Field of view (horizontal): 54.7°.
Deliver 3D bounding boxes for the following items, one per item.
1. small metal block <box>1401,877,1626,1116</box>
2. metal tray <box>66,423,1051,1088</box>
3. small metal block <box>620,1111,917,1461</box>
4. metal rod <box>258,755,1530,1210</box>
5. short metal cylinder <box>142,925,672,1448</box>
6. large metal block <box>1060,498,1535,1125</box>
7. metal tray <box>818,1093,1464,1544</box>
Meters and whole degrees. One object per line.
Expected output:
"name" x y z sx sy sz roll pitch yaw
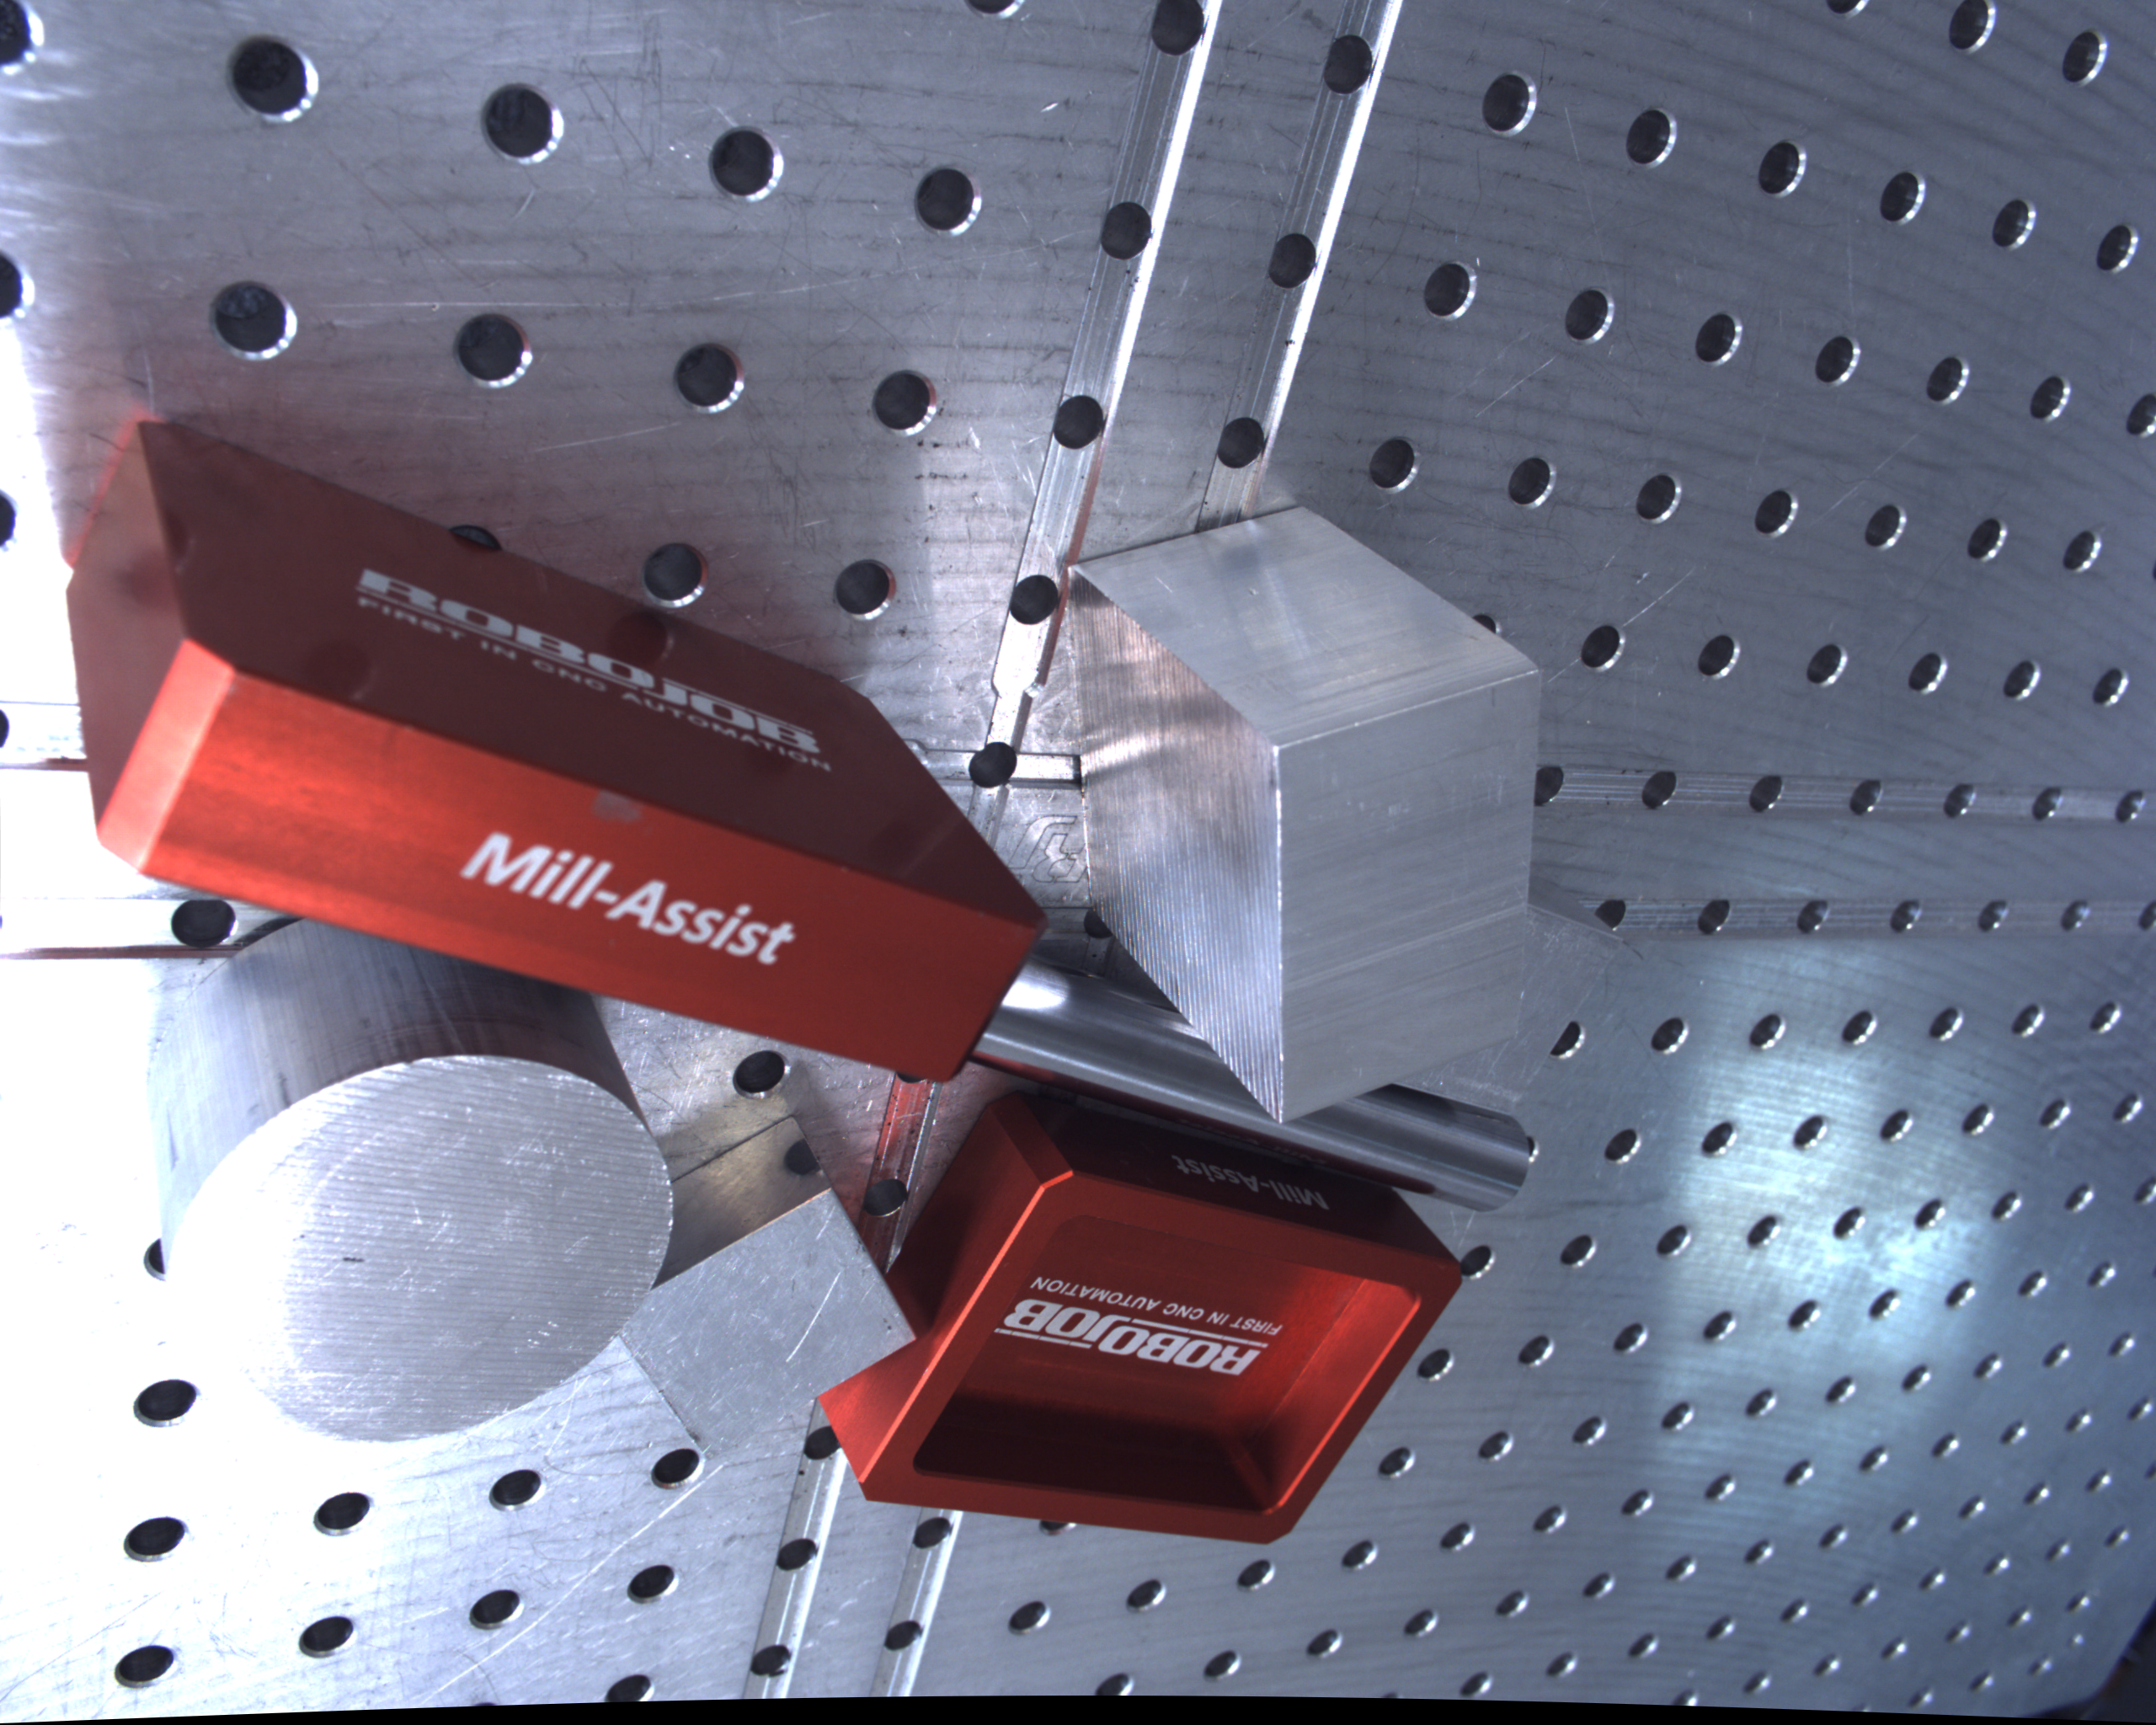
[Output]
"small metal block" 0.088 0.026 0.475 0.050 0.025 0.050 18 109 -35
"metal tray" -0.078 -0.015 0.316 0.131 0.090 0.030 20 108 -36
"small metal block" -0.068 0.087 0.429 0.050 0.025 0.050 -29 128 -10
"metal rod" -0.013 0.030 0.422 0.302 0.025 0.025 21 107 -36
"short metal cylinder" -0.117 0.054 0.363 0.081 0.050 0.079 -14 124 -21
"large metal block" 0.039 -0.012 0.391 0.050 0.080 0.079 -17 126 -19
"metal tray" 0.017 0.110 0.484 0.131 0.030 0.090 20 108 -36
